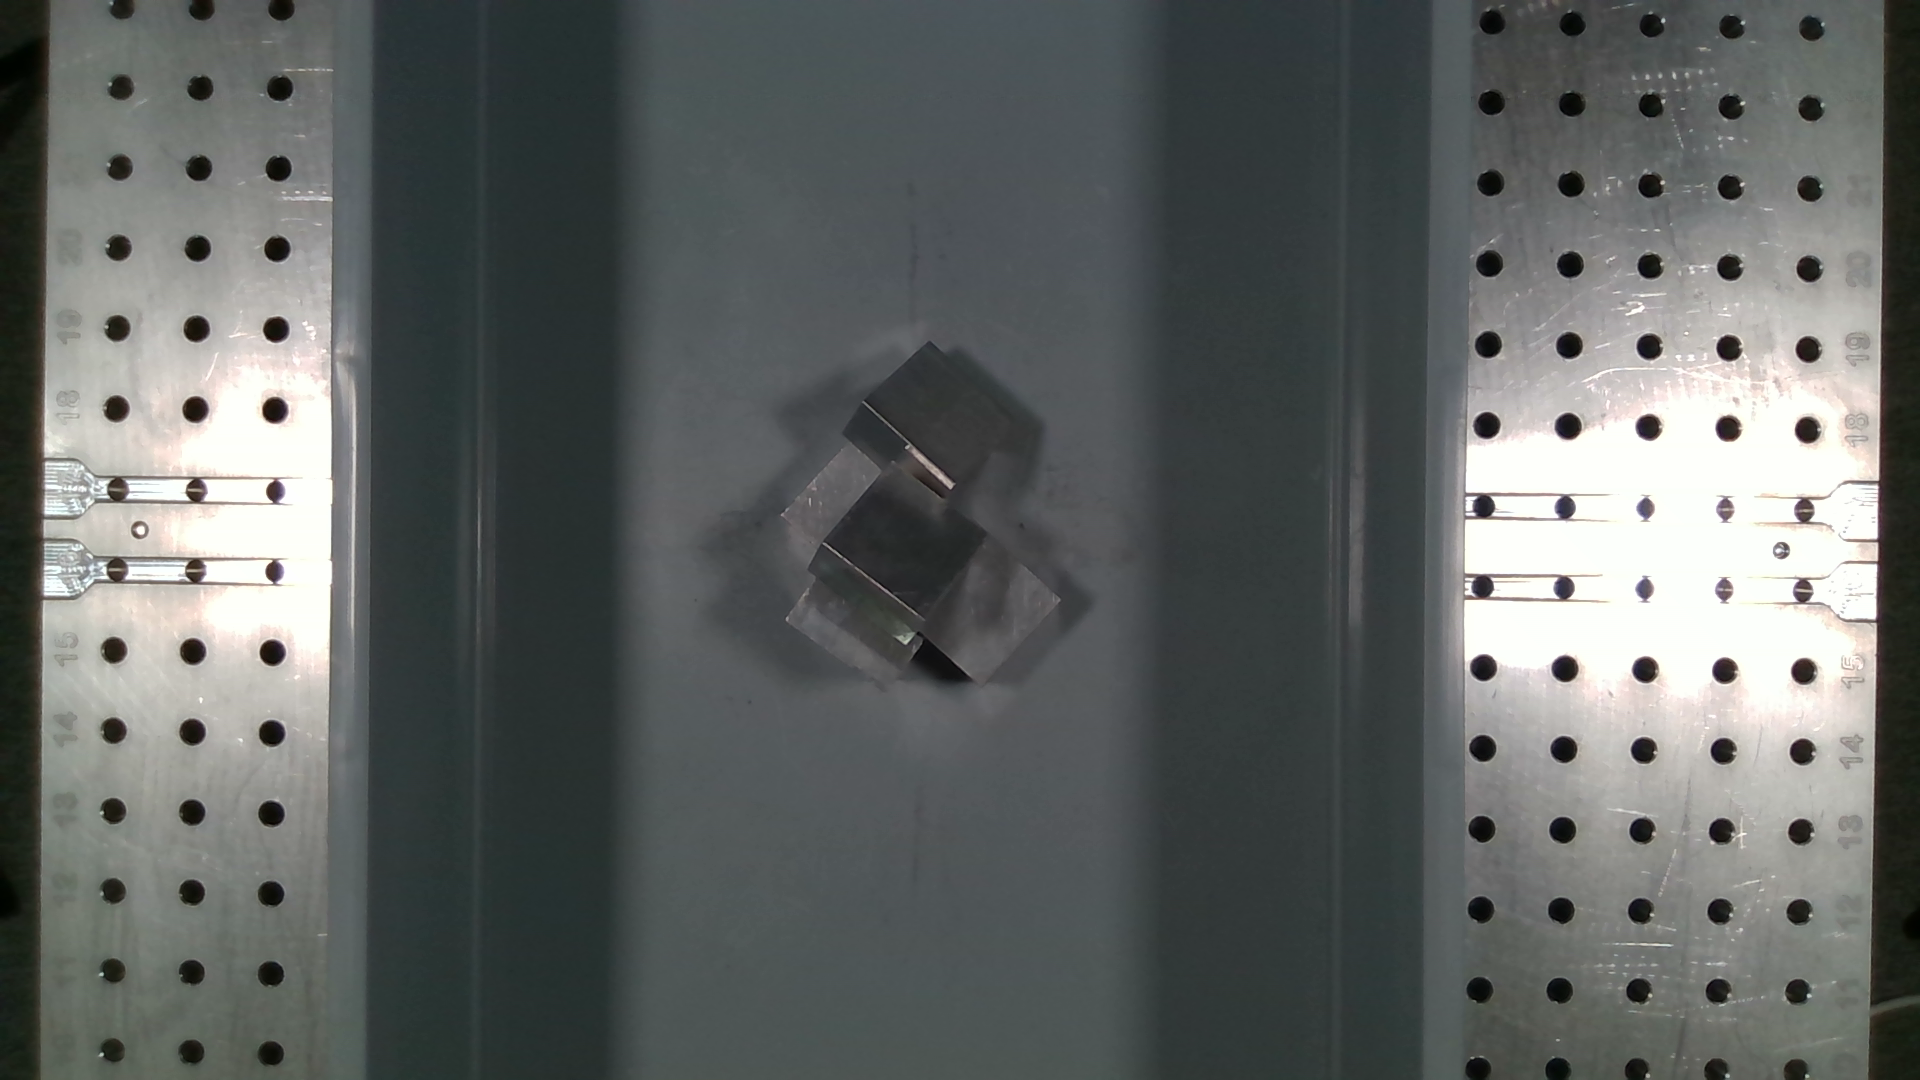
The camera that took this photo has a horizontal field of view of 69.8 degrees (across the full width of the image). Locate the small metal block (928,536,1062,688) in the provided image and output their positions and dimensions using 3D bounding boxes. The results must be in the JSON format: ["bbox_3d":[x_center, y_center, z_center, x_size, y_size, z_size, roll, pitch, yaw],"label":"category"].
[{"bbox_3d":[0.007,0.026,0.586,0.050,0.025,0.050,42,90,0],"label":"small metal block"}]

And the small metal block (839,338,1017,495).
[{"bbox_3d":[-0.013,-0.048,0.573,0.050,0.025,0.050,42,52,0],"label":"small metal block"}]

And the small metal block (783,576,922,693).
[{"bbox_3d":[-0.043,0.036,0.573,0.050,0.050,0.025,35,90,0],"label":"small metal block"}]

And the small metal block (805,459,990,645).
[{"bbox_3d":[-0.025,0.005,0.549,0.050,0.025,0.050,38,56,0],"label":"small metal block"}]

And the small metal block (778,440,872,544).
[{"bbox_3d":[-0.040,-0.012,0.585,0.050,0.025,0.050,42,90,0],"label":"small metal block"}]
